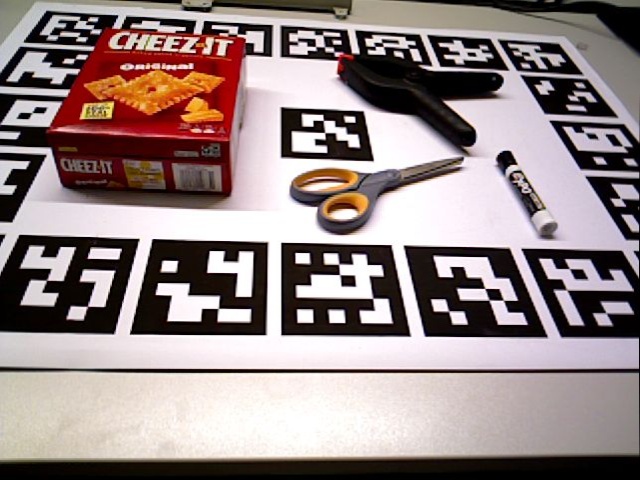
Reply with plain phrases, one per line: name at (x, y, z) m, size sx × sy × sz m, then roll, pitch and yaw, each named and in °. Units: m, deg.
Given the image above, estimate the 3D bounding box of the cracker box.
cracker box at (-0.168, -0.137, 0.562) m, size 0.163 × 0.074 × 0.210 m, roll 1°, pitch 45°, yaw -5°

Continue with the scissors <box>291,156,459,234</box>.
scissors at (0.066, -0.060, 0.547) m, size 0.199 × 0.016 × 0.087 m, roll -20°, pitch 49°, yaw -28°

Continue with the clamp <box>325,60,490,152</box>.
clamp at (0.099, -0.187, 0.686) m, size 0.203 × 0.037 × 0.161 m, roll 22°, pitch 45°, yaw 15°

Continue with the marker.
marker at (0.207, -0.056, 0.557) m, size 0.019 × 0.020 × 0.119 m, roll -3°, pitch 45°, yaw -9°
